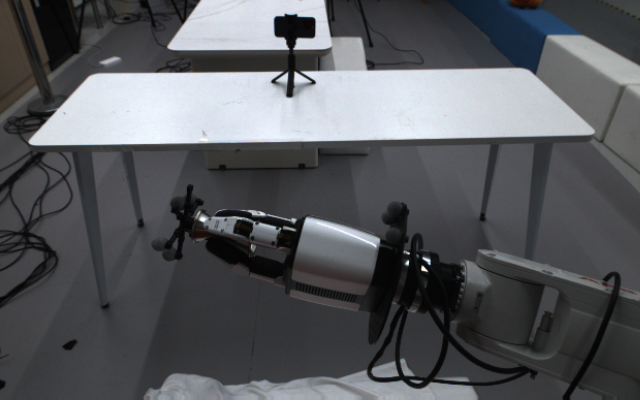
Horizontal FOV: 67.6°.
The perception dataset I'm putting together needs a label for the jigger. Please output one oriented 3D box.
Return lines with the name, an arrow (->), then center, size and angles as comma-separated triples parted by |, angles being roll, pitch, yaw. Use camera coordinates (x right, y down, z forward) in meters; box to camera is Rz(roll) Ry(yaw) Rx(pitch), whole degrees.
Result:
jigger -> -0.098, 0.034, 0.548 | 0.071, 0.043, 0.043 | 13, 36, 4
